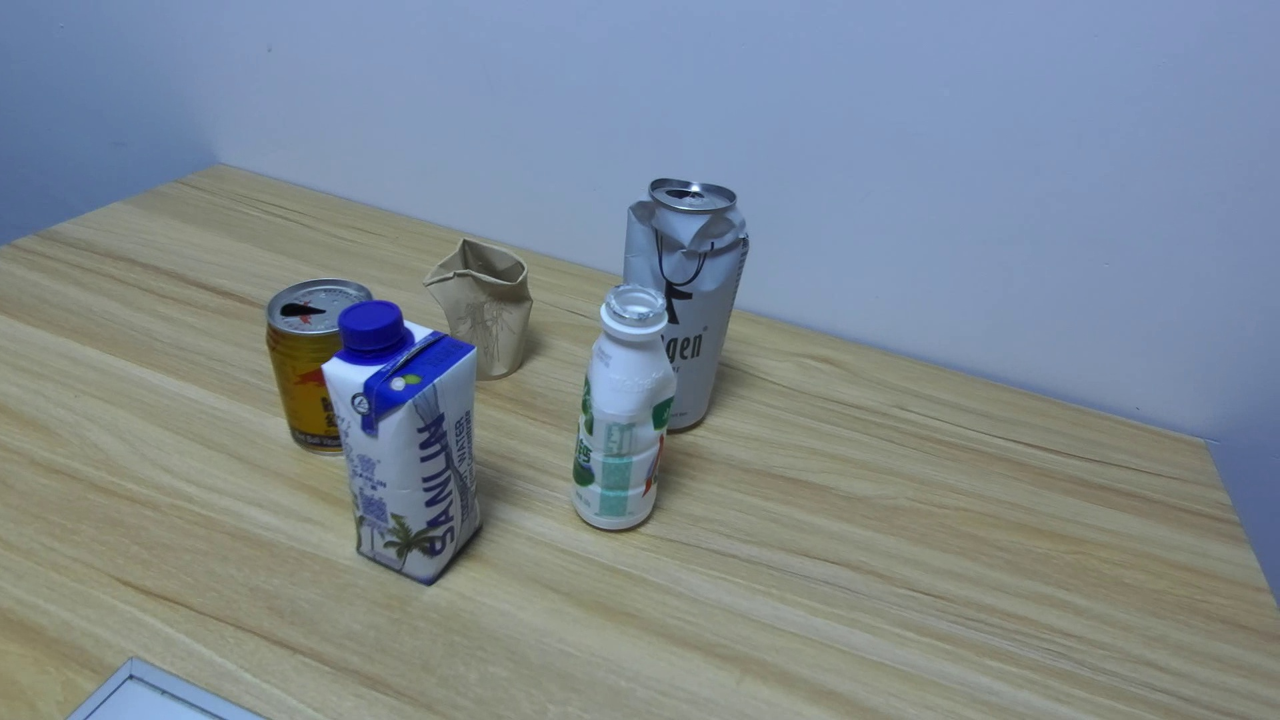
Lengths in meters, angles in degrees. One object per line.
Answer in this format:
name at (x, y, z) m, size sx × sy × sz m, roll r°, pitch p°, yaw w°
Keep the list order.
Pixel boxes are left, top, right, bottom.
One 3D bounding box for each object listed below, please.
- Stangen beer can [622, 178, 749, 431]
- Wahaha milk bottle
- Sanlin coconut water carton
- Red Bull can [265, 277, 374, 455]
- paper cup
Stangen beer can at (0.025, -0.033, 0.465) m, size 0.066 × 0.166 × 0.065 m, roll -17°, pitch 41°, yaw -30°
Wahaha milk bottle at (-0.007, 0.029, 0.390) m, size 0.056 × 0.149 × 0.055 m, roll 5°, pitch 37°, yaw -4°
Sanlin coconut water carton at (-0.116, 0.042, 0.358) m, size 0.060 × 0.144 × 0.061 m, roll 19°, pitch 37°, yaw 14°
Red Bull can at (-0.193, 0.003, 0.445) m, size 0.067 × 0.093 × 0.067 m, roll 6°, pitch 39°, yaw -4°
paper cup at (-0.115, -0.032, 0.512) m, size 0.066 × 0.083 × 0.058 m, roll 22°, pitch 42°, yaw 24°
